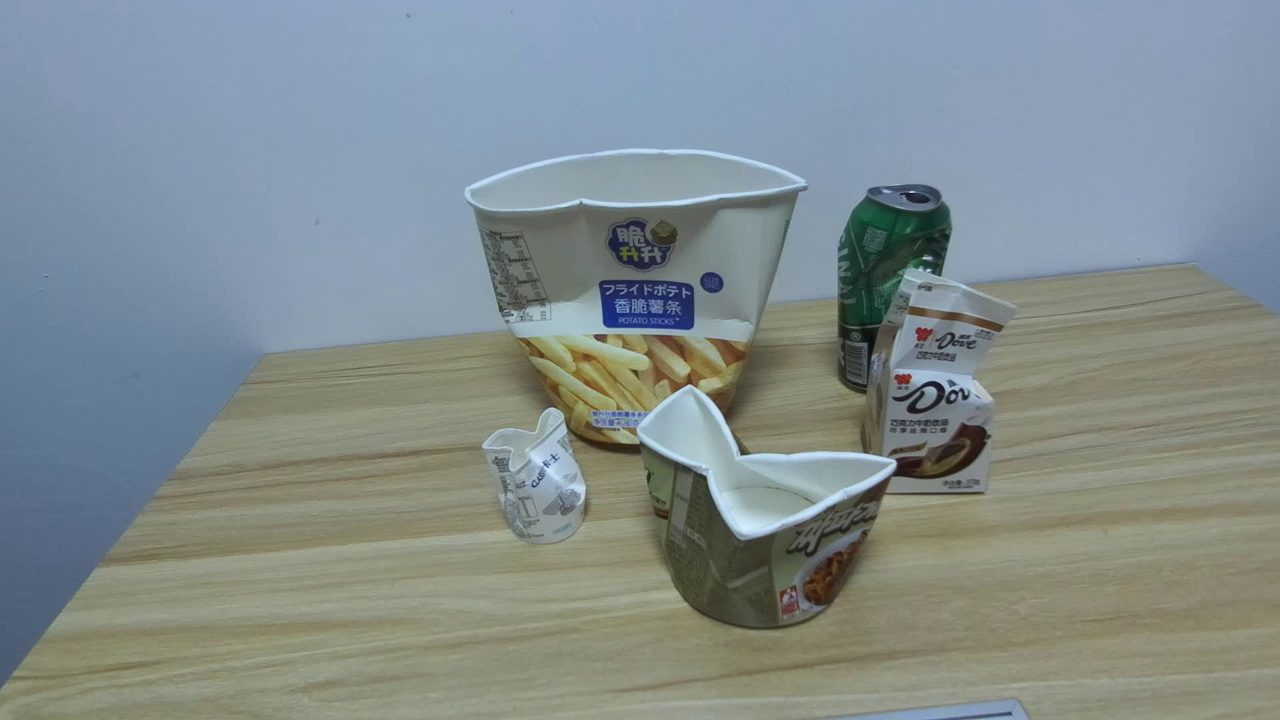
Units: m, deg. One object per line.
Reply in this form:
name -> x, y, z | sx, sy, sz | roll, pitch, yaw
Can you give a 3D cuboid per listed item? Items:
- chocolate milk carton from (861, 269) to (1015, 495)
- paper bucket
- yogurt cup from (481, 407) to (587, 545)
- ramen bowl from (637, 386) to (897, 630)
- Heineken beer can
chocolate milk carton -> 0.193, 0.009, 0.463 | 0.076, 0.156, 0.073 | -1, 35, 7
paper bucket -> 0.000, -0.048, 0.543 | 0.218, 0.199, 0.147 | -15, 34, -15
yogurt cup -> -0.068, 0.079, 0.475 | 0.055, 0.072, 0.055 | -24, 35, -25
ramen bowl -> 0.065, 0.082, 0.422 | 0.112, 0.093, 0.127 | -22, 36, -24
Heineken beer can -> 0.196, -0.054, 0.559 | 0.077, 0.164, 0.066 | 12, 37, 23
